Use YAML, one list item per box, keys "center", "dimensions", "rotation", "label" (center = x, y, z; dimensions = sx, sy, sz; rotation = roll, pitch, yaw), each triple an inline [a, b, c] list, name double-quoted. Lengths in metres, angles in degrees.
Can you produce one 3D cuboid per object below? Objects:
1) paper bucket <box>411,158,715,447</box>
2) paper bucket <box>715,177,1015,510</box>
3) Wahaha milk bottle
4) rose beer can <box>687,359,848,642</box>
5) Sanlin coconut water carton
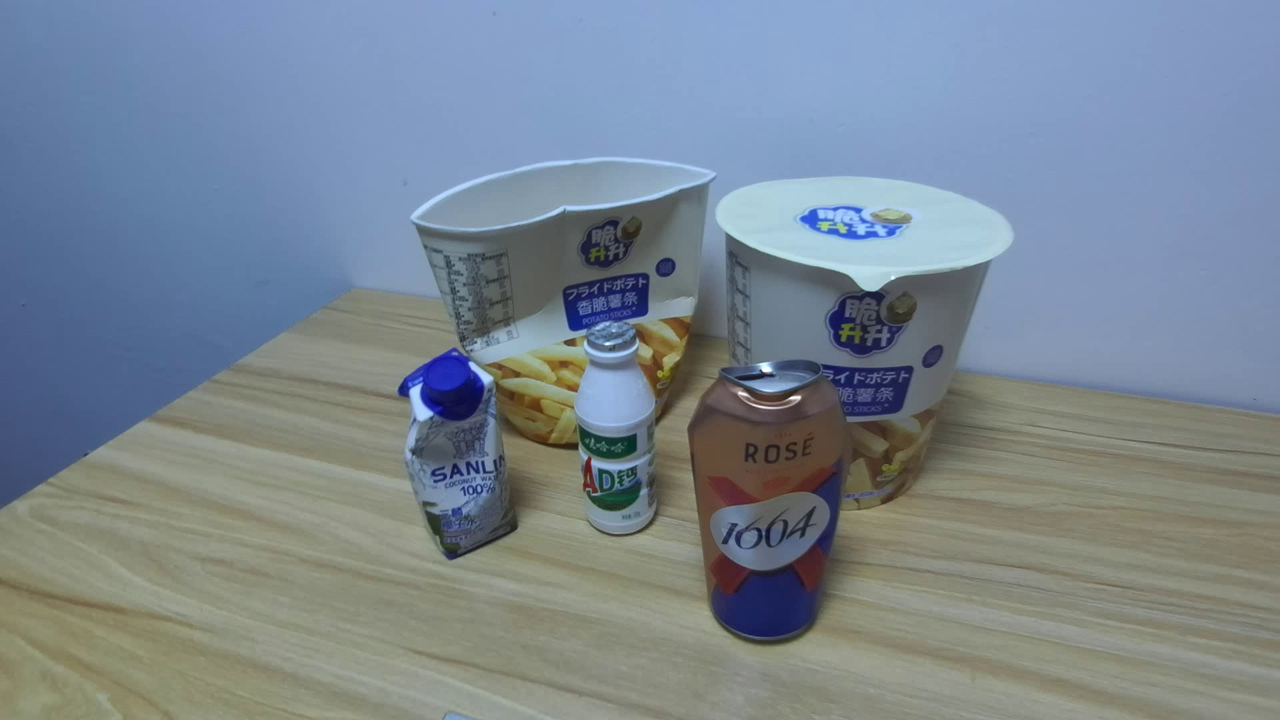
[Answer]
- center: [-0.045, -0.049, 0.575]
  dimensions: [0.147, 0.199, 0.218]
  rotation: [18, 36, 29]
  label: "paper bucket"
- center: [0.147, -0.013, 0.515]
  dimensions: [0.198, 0.195, 0.198]
  rotation: [-1, 30, 1]
  label: "paper bucket"
- center: [-0.015, 0.046, 0.465]
  dimensions: [0.053, 0.147, 0.053]
  rotation: [-1, 31, 1]
  label: "Wahaha milk bottle"
- center: [0.072, 0.078, 0.392]
  dimensions: [0.069, 0.168, 0.069]
  rotation: [15, 33, 30]
  label: "rose beer can"
- center: [-0.123, 0.056, 0.460]
  dimensions: [0.061, 0.144, 0.069]
  rotation: [-20, 36, -27]
  label: "Sanlin coconut water carton"
